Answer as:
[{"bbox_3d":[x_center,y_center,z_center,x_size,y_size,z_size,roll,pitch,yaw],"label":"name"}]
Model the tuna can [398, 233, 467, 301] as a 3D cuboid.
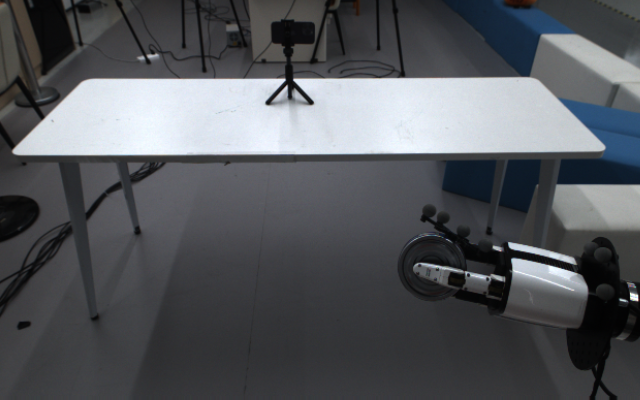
[{"bbox_3d":[0.146,0.090,0.614,0.085,0.085,0.034,13,4,15],"label":"tuna can"}]
